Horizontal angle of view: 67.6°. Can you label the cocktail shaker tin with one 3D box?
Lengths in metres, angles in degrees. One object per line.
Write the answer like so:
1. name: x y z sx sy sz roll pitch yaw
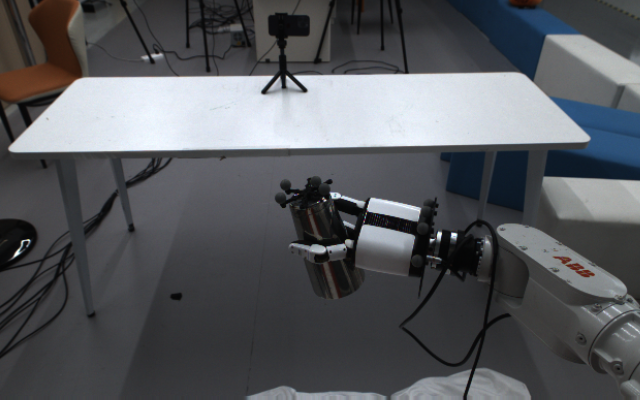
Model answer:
1. cocktail shaker tin: 0.007 0.066 0.780 0.093 0.170 0.093 -15 29 8
